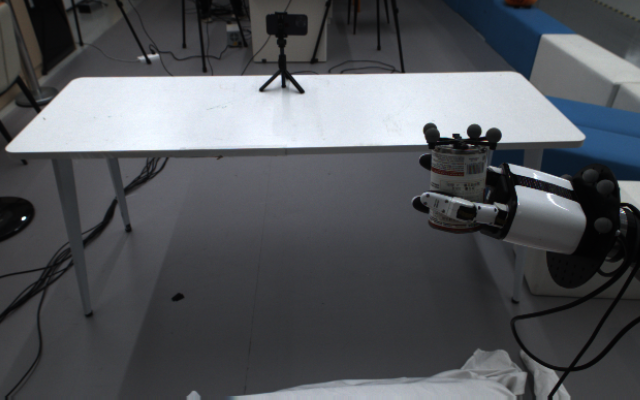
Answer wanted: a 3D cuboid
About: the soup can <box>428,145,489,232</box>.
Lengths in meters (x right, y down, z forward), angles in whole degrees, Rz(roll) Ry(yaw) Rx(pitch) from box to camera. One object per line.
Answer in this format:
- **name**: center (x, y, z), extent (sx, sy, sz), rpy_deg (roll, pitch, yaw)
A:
- **soup can**: center (0.172, -0.018, 0.598), extent (0.067, 0.101, 0.067), rpy_deg (-2, 17, 0)
